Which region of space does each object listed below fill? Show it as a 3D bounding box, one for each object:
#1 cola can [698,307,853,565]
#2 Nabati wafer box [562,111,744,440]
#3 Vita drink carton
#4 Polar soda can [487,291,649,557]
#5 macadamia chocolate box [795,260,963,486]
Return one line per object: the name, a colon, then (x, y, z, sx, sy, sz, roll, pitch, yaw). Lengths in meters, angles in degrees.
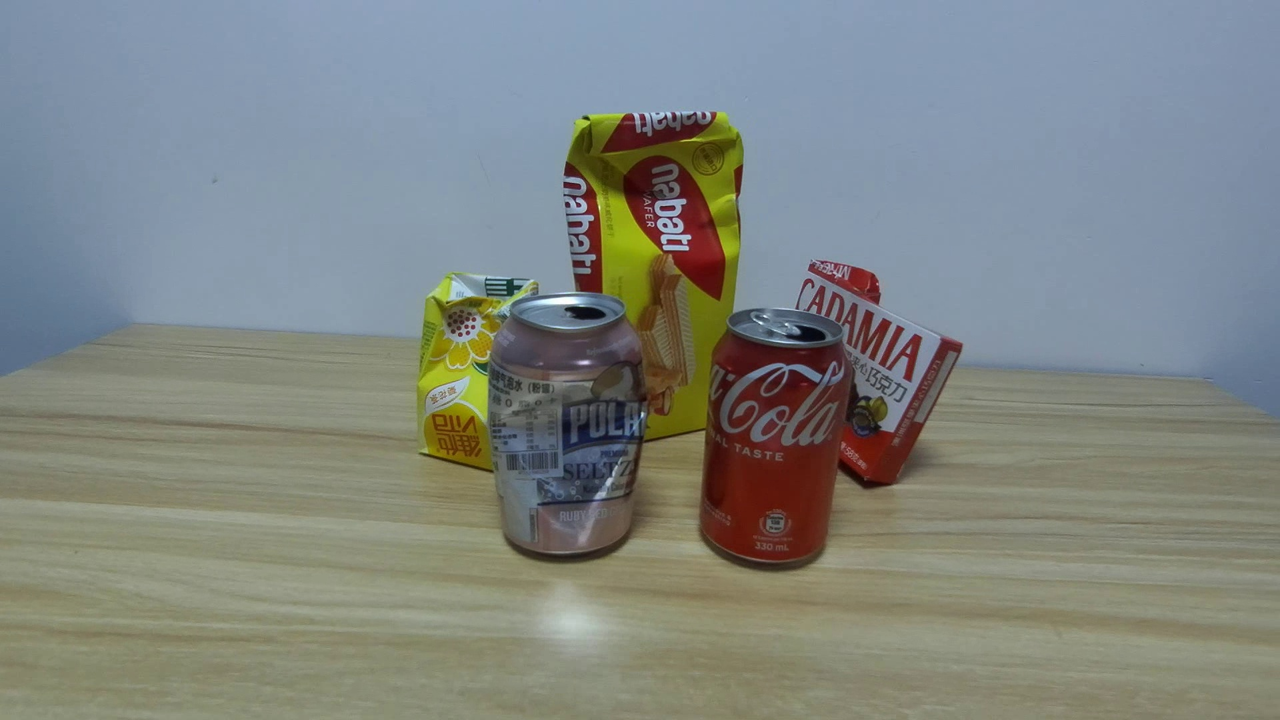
cola can: (0.066, 0.037, 0.350, 0.068, 0.120, 0.068, 3, 20, -1)
Nabati wafer box: (0.011, -0.049, 0.452, 0.114, 0.205, 0.042, -9, 20, -24)
Vita drink carton: (-0.101, 0.006, 0.434, 0.071, 0.109, 0.046, 9, 22, 20)
Polar soda can: (-0.034, 0.033, 0.350, 0.074, 0.122, 0.067, 9, 22, 21)
macadamia chocolate box: (0.138, 0.004, 0.455, 0.056, 0.112, 0.126, -2, 21, -19)
